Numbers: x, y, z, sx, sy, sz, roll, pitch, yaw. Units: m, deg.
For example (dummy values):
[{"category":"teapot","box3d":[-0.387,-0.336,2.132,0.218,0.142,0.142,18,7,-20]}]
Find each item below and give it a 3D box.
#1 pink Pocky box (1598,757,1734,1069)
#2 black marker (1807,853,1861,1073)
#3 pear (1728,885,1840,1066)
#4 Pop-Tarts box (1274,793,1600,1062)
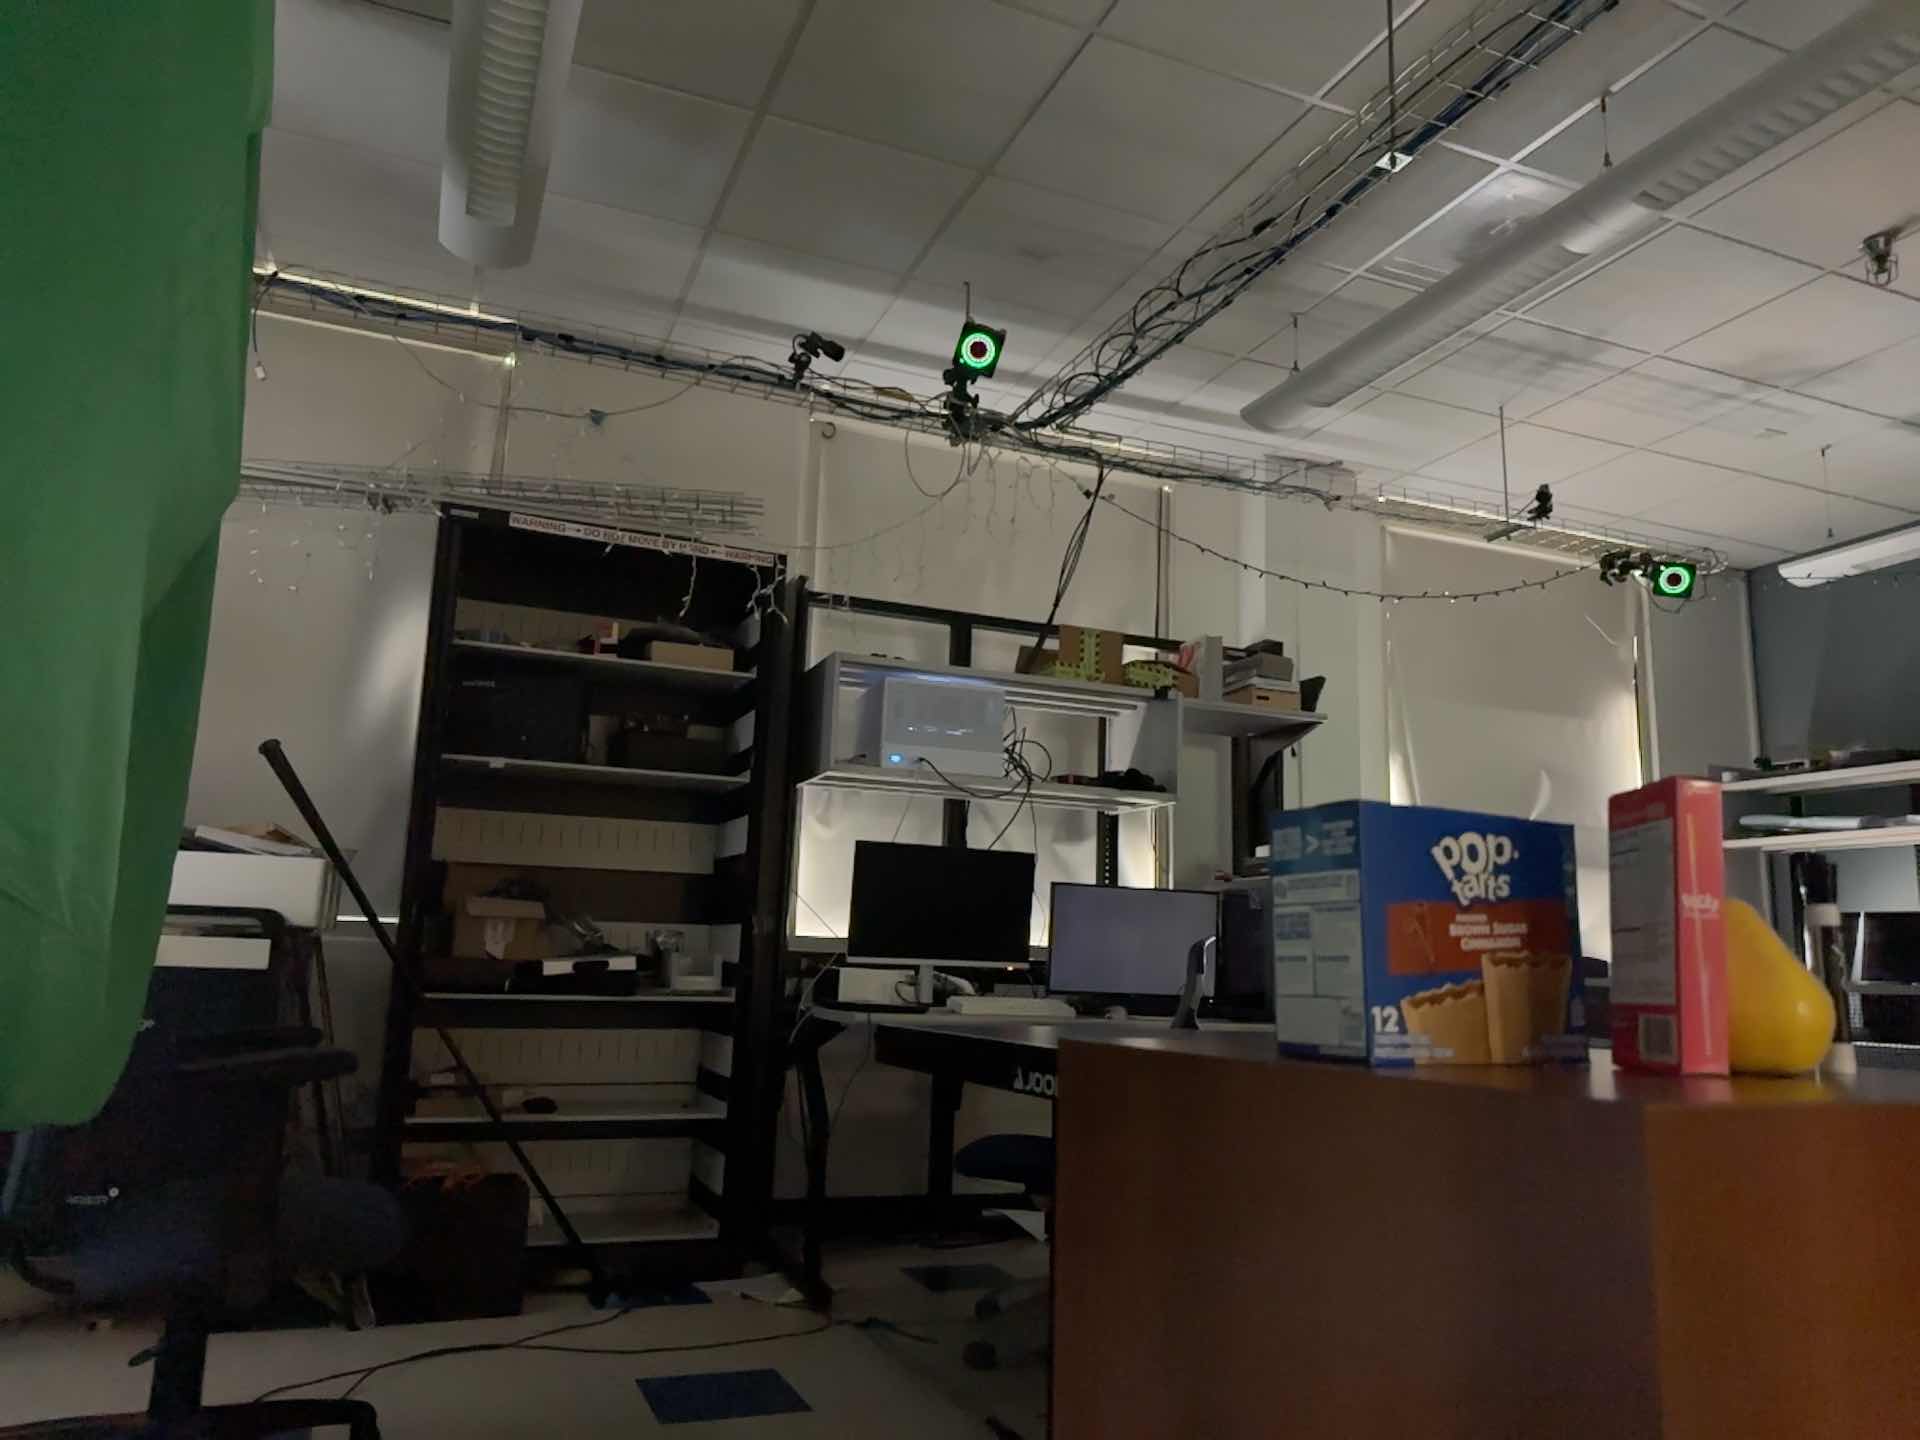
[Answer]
[{"category":"pink Pocky box","box3d":[0.370,0.101,0.709,0.029,0.155,0.084,3,-9,0]},{"category":"black marker","box3d":[0.492,0.136,0.758,0.020,0.121,0.020,2,-9,0]},{"category":"pear","box3d":[0.422,0.127,0.721,0.080,0.111,0.080,1,-11,0]},{"category":"Pop-Tarts box","box3d":[0.271,0.121,0.767,0.161,0.135,0.075,7,-12,-25]}]
